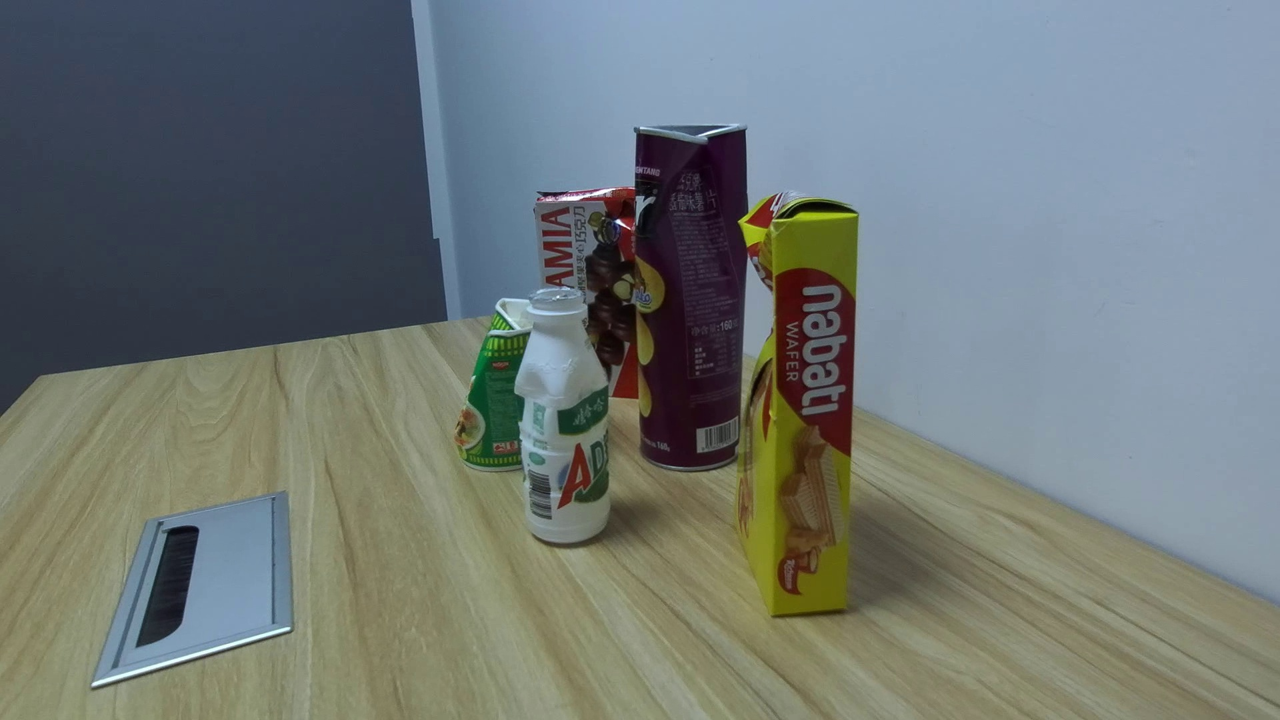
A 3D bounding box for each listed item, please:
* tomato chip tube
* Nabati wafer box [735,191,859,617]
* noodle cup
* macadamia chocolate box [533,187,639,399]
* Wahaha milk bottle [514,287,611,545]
[{"bbox_3d":[0.038,-0.043,0.504,0.077,0.235,0.076,1,20,5],"label":"tomato chip tube"},{"bbox_3d":[0.077,0.018,0.371,0.042,0.204,0.106,-3,17,-3],"label":"Nabati wafer box"},{"bbox_3d":[-0.098,0.020,0.522,0.075,0.122,0.083,18,15,26],"label":"noodle cup"},{"bbox_3d":[-0.038,-0.057,0.624,0.102,0.187,0.027,3,21,13],"label":"macadamia chocolate box"},{"bbox_3d":[-0.046,0.032,0.418,0.055,0.149,0.055,-1,18,1],"label":"Wahaha milk bottle"}]
